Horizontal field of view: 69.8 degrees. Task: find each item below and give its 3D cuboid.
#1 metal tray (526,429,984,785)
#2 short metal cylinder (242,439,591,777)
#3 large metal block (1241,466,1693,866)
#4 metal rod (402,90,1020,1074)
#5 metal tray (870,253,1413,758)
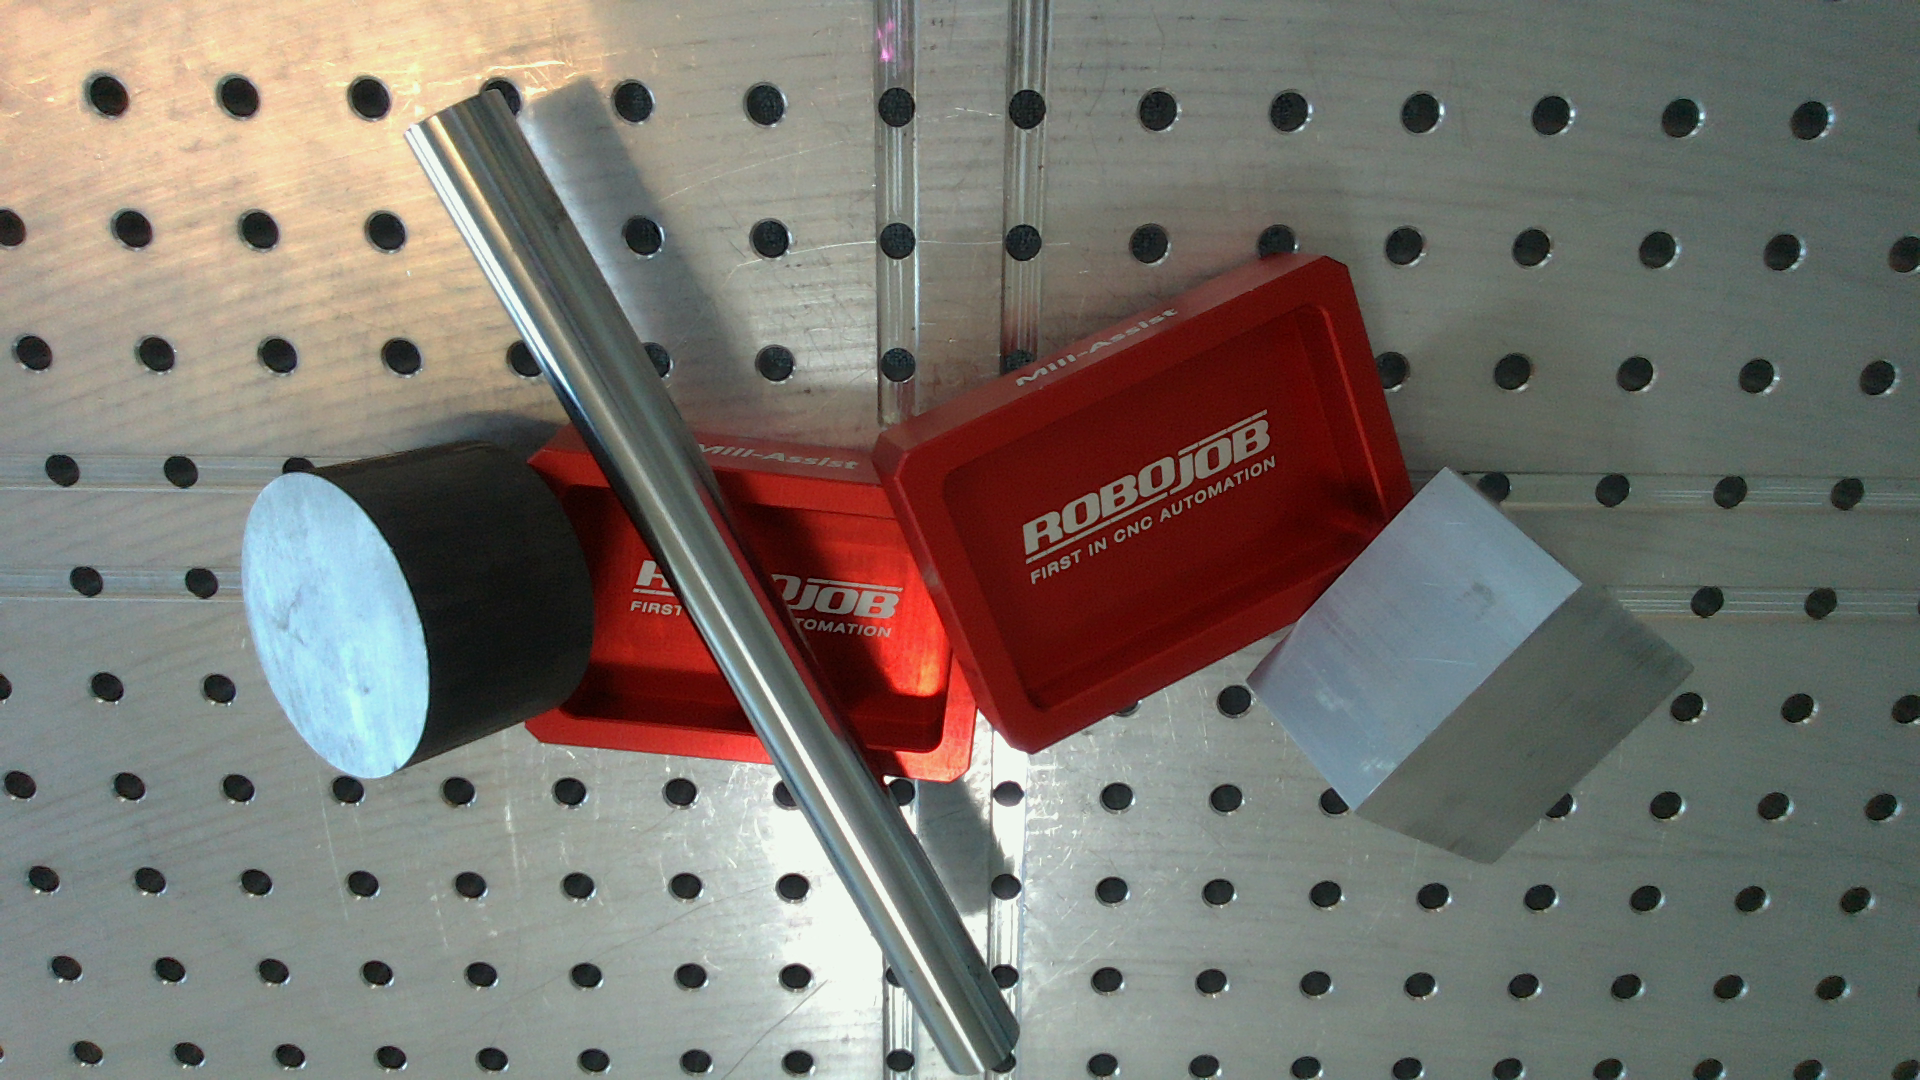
[{"bbox_3d":[-0.057,0.019,0.400,0.130,0.030,0.090,6,110,-3],"label":"metal tray"},{"bbox_3d":[-0.146,0.017,0.369,0.080,0.050,0.080,11,109,33],"label":"short metal cylinder"},{"bbox_3d":[0.139,0.038,0.379,0.080,0.050,0.080,25,112,-42],"label":"large metal block"},{"bbox_3d":[-0.057,0.026,0.374,0.025,0.025,0.300,-24,109,8],"label":"metal rod"},{"bbox_3d":[0.053,-0.011,0.370,0.130,0.030,0.090,-26,109,-9],"label":"metal tray"}]
